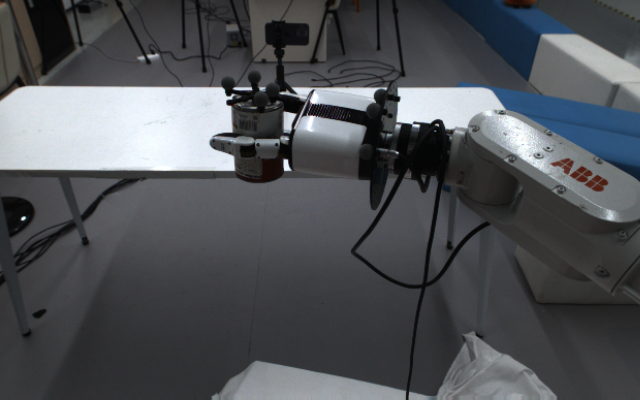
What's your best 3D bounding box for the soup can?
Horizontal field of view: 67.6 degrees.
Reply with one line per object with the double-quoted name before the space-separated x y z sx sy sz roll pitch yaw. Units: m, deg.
"soup can" -0.079 -0.081 0.630 0.067 0.101 0.067 2 32 -1
